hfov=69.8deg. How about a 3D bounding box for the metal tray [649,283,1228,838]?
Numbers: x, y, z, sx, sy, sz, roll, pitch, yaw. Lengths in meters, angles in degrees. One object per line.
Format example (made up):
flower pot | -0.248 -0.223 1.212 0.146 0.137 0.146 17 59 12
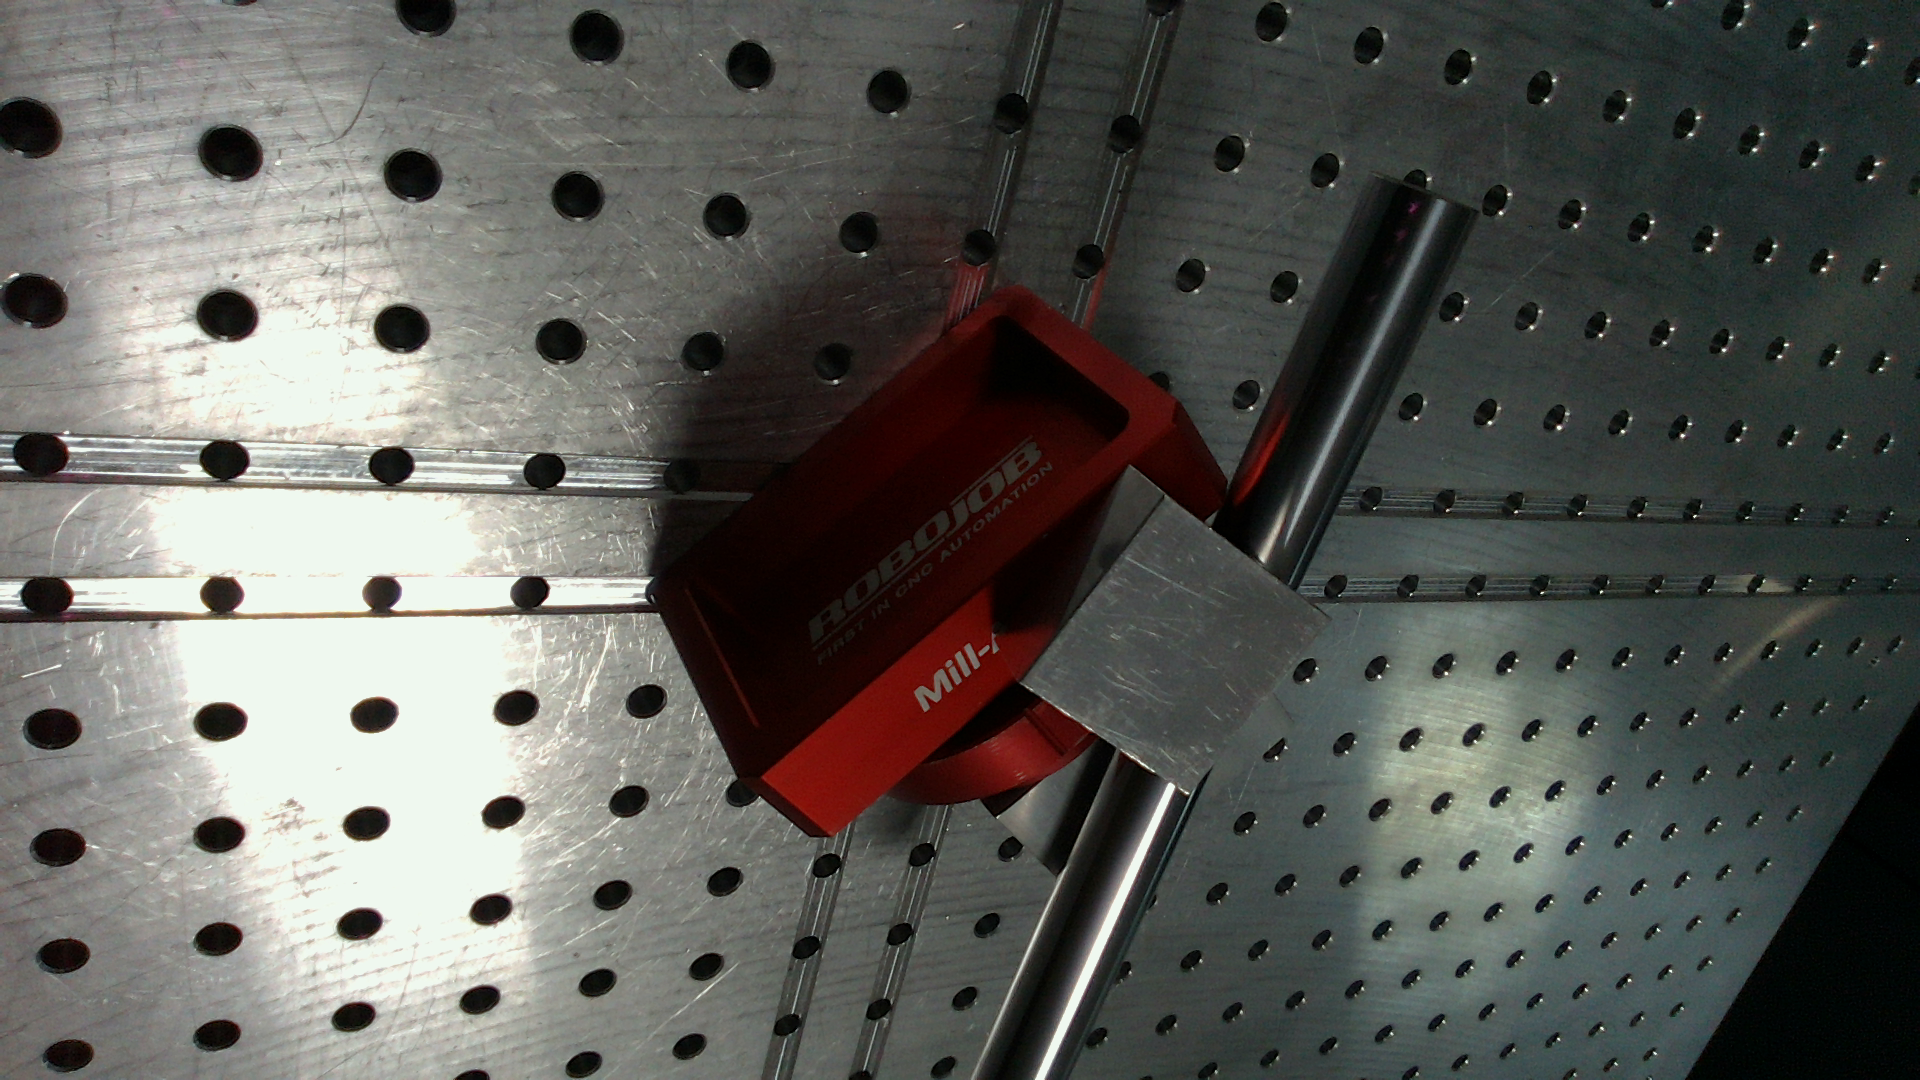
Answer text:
metal tray | -0.010 0.001 0.345 0.130 0.090 0.030 -40 129 -1

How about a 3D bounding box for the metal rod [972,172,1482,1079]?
metal rod | 0.052 0.056 0.351 0.025 0.025 0.300 7 115 -31

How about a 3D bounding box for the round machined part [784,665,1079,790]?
round machined part | 0.004 0.023 0.367 0.098 0.098 0.042 -41 129 0

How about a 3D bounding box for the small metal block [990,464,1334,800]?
small metal block | 0.044 0.020 0.302 0.050 0.025 0.050 35 98 -19

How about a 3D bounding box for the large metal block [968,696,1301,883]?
large metal block | 0.037 0.046 0.401 0.080 0.080 0.050 -40 129 -1
